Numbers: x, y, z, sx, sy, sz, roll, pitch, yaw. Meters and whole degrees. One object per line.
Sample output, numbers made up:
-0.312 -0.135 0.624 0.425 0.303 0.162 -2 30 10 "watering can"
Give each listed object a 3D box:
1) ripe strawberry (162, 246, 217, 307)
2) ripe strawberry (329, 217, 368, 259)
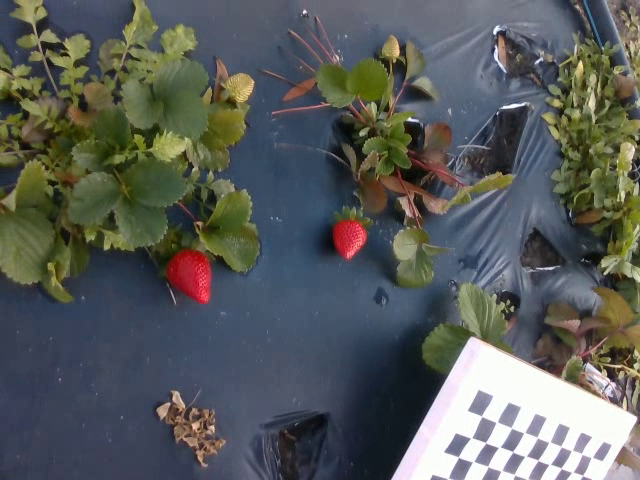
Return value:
-0.104 0.035 0.521 0.050 0.046 0.050 28 22 -43 "ripe strawberry"
0.028 0.004 0.601 0.041 0.052 0.045 -11 -45 22 "ripe strawberry"
